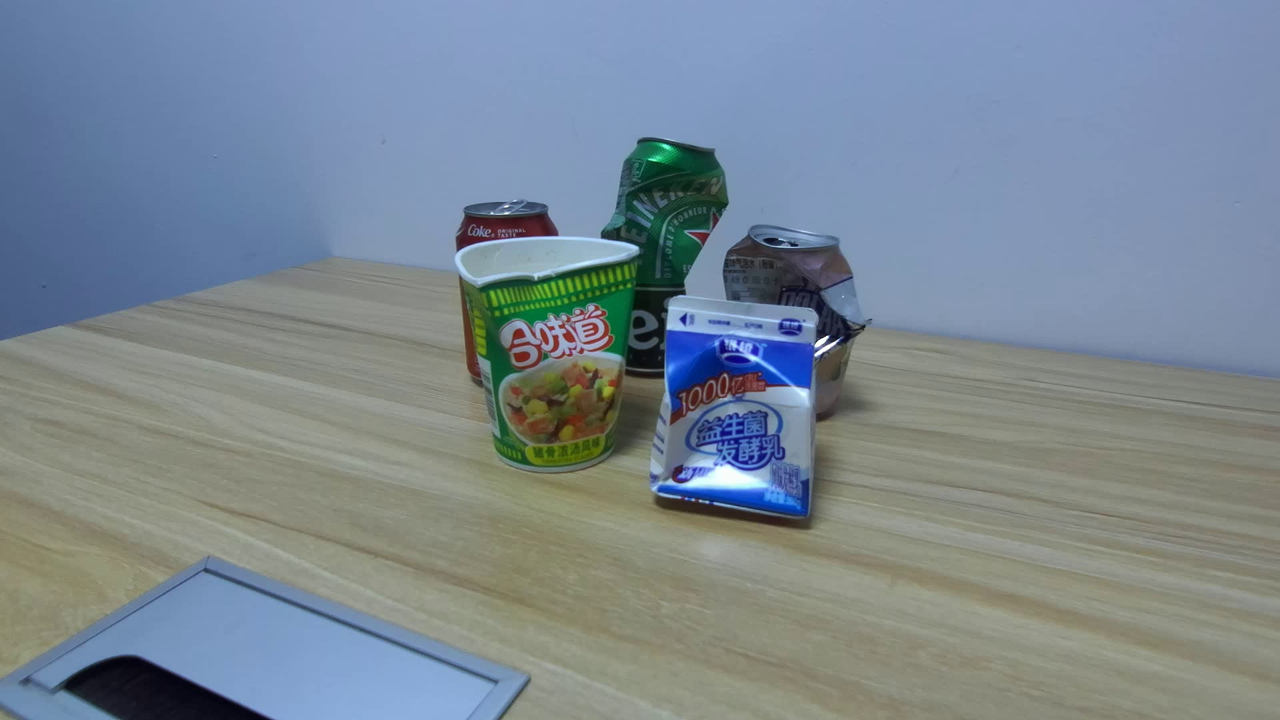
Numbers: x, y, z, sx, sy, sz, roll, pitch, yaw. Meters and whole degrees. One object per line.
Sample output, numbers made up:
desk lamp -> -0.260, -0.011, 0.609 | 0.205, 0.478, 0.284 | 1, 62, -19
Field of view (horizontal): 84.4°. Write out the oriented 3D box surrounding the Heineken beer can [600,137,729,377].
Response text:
Heineken beer can -> 0.014, -0.068, 0.490 | 0.067, 0.159, 0.079 | 11, 14, 21

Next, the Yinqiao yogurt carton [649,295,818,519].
Yinqiao yogurt carton -> 0.049, 0.017, 0.347 | 0.077, 0.094, 0.071 | 6, 16, 13

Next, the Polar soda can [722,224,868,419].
Polar soda can -> 0.092, -0.023, 0.430 | 0.074, 0.114, 0.070 | -4, 26, -2

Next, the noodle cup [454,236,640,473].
noodle cup -> -0.047, -0.006, 0.387 | 0.094, 0.109, 0.086 | -6, 22, -15

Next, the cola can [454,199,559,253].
cola can -> -0.087, -0.048, 0.482 | 0.068, 0.120, 0.068 | 0, 22, 0
